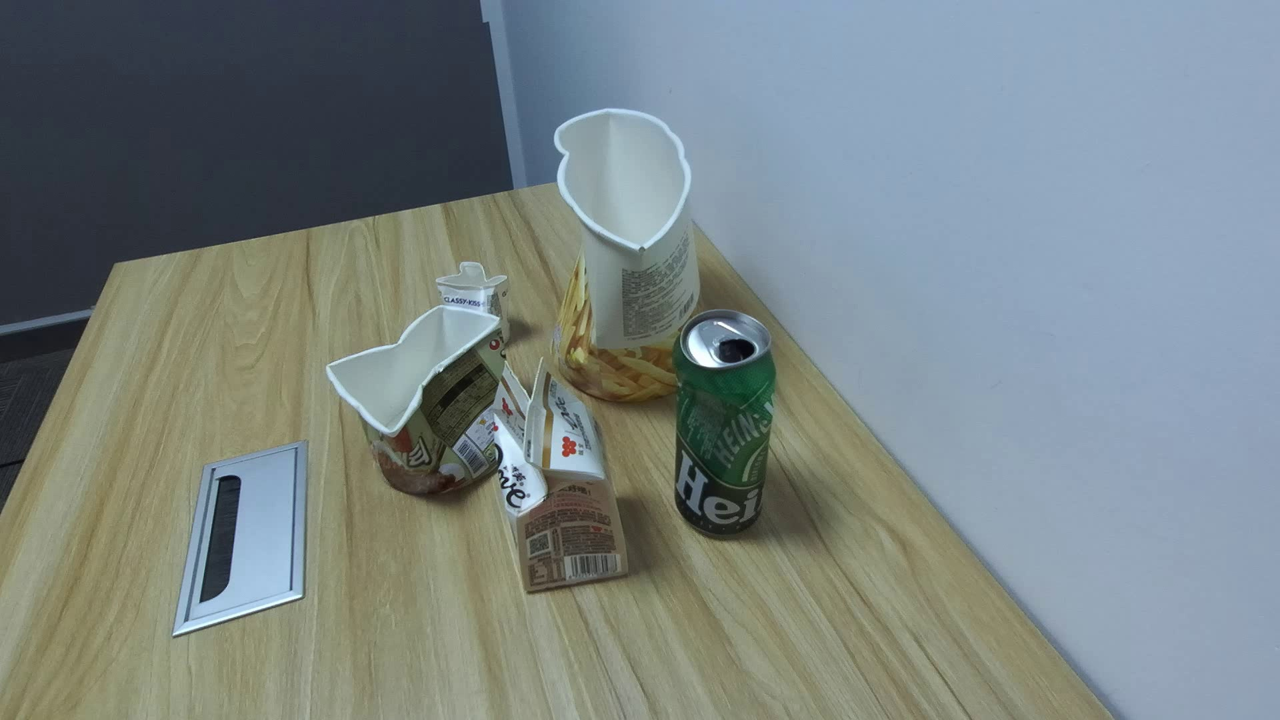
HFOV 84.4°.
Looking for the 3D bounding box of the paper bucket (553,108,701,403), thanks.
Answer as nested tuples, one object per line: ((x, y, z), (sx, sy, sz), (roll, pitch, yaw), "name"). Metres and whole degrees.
((-0.012, -0.081, 0.608), (0.148, 0.199, 0.217), (-28, 45, -27), "paper bucket")

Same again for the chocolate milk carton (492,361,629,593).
((-0.055, 0.072, 0.462), (0.074, 0.156, 0.076), (-10, 39, -5), "chocolate milk carton")

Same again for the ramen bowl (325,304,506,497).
((-0.159, 0.031, 0.566), (0.111, 0.093, 0.128), (31, 52, 33), "ramen bowl")

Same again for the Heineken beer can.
((0.054, 0.046, 0.477), (0.066, 0.164, 0.077), (3, 44, 8), "Heineken beer can")

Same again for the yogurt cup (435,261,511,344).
((-0.156, -0.052, 0.683), (0.054, 0.072, 0.055), (26, 45, 29), "yogurt cup")
